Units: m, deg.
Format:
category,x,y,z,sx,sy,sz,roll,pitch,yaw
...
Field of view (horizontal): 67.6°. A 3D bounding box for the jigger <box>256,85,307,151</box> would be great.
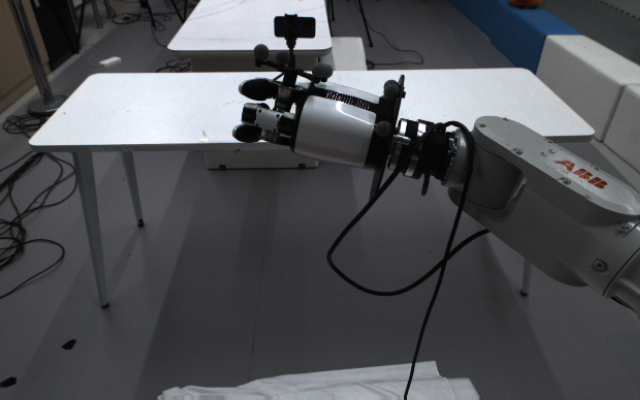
category,x,y,z,sx,sy,sz,roll,pitch,yaw
jigger,-0.044,-0.104,0.585,0.043,0.071,0.043,15,17,-5
